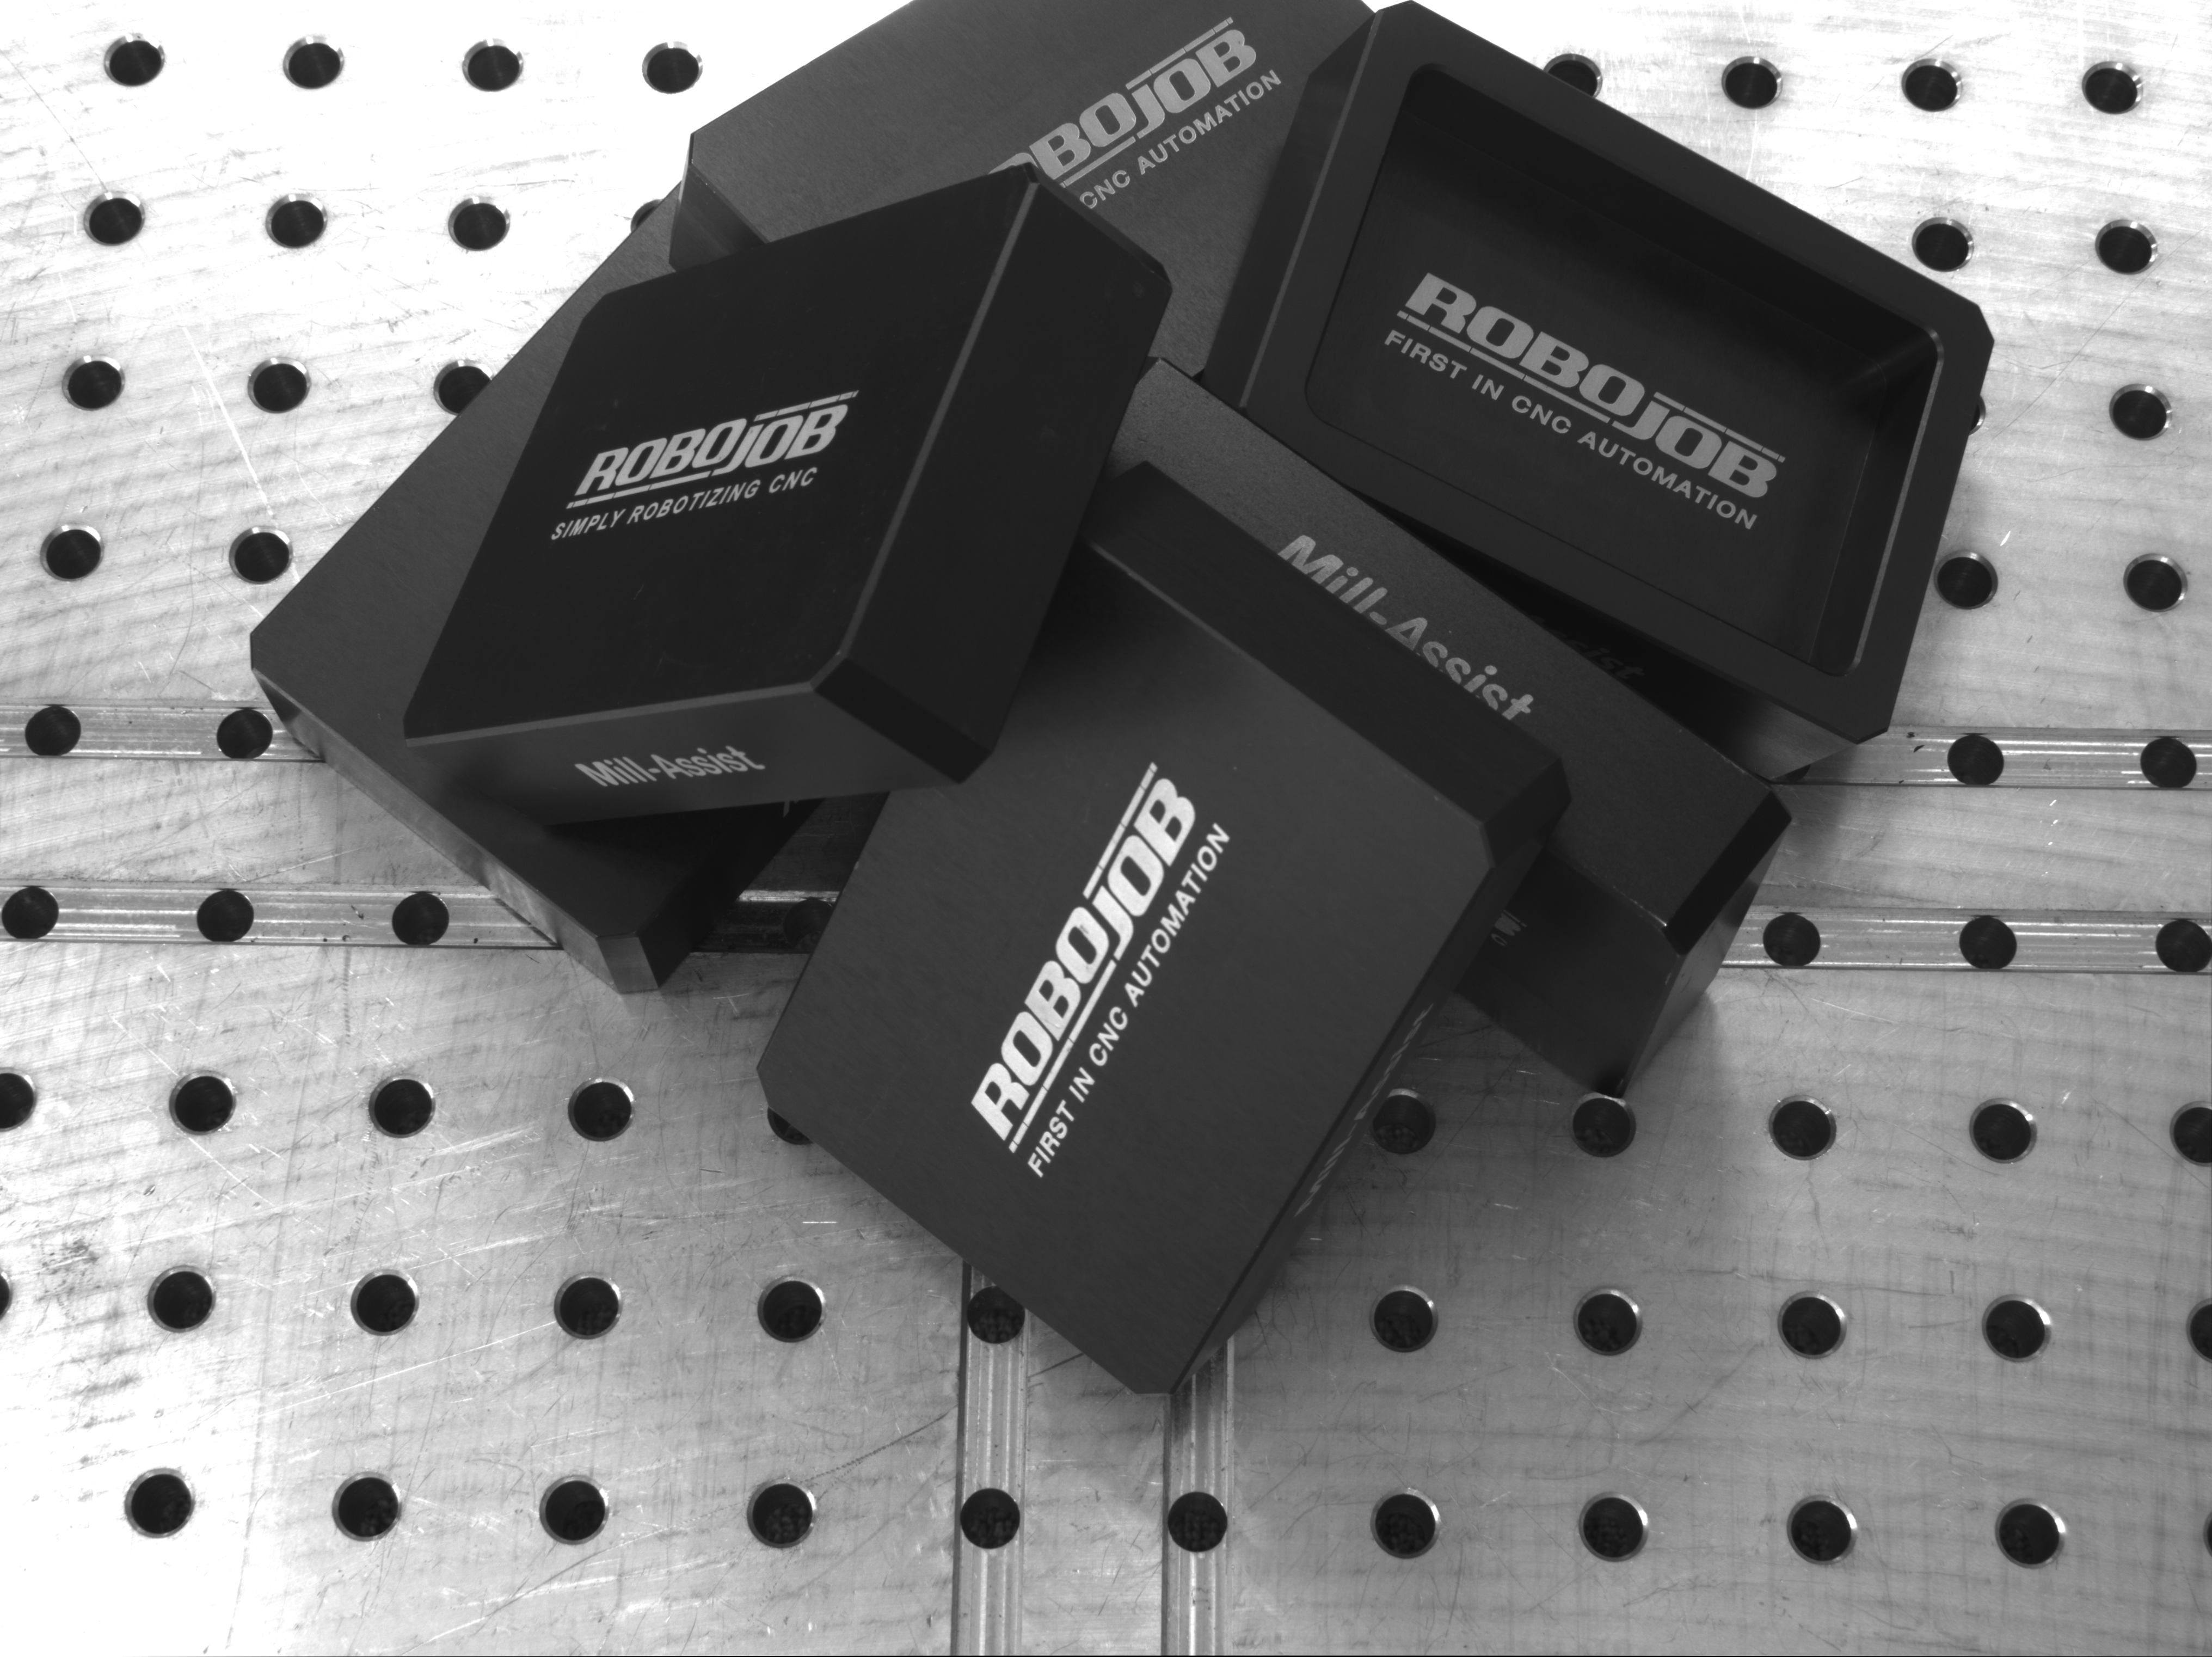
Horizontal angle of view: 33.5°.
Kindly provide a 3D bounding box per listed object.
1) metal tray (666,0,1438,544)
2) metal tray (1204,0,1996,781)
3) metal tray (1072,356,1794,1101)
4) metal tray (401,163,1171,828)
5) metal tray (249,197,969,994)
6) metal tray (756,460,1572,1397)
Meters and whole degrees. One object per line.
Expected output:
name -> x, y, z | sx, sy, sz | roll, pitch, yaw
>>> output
metal tray -> -0.003, -0.115, 0.668 | 0.130, 0.030, 0.090 | -38, 77, -27
metal tray -> 0.086, -0.076, 0.647 | 0.130, 0.030, 0.090 | 25, 71, -15
metal tray -> 0.047, -0.015, 0.618 | 0.130, 0.090, 0.030 | 37, 74, 12
metal tray -> -0.054, -0.050, 0.586 | 0.030, 0.130, 0.090 | 33, 67, -33
metal tray -> -0.077, -0.047, 0.662 | 0.090, 0.030, 0.130 | 37, 74, 12
metal tray -> 0.006, 0.018, 0.590 | 0.090, 0.130, 0.030 | 37, 35, 13
